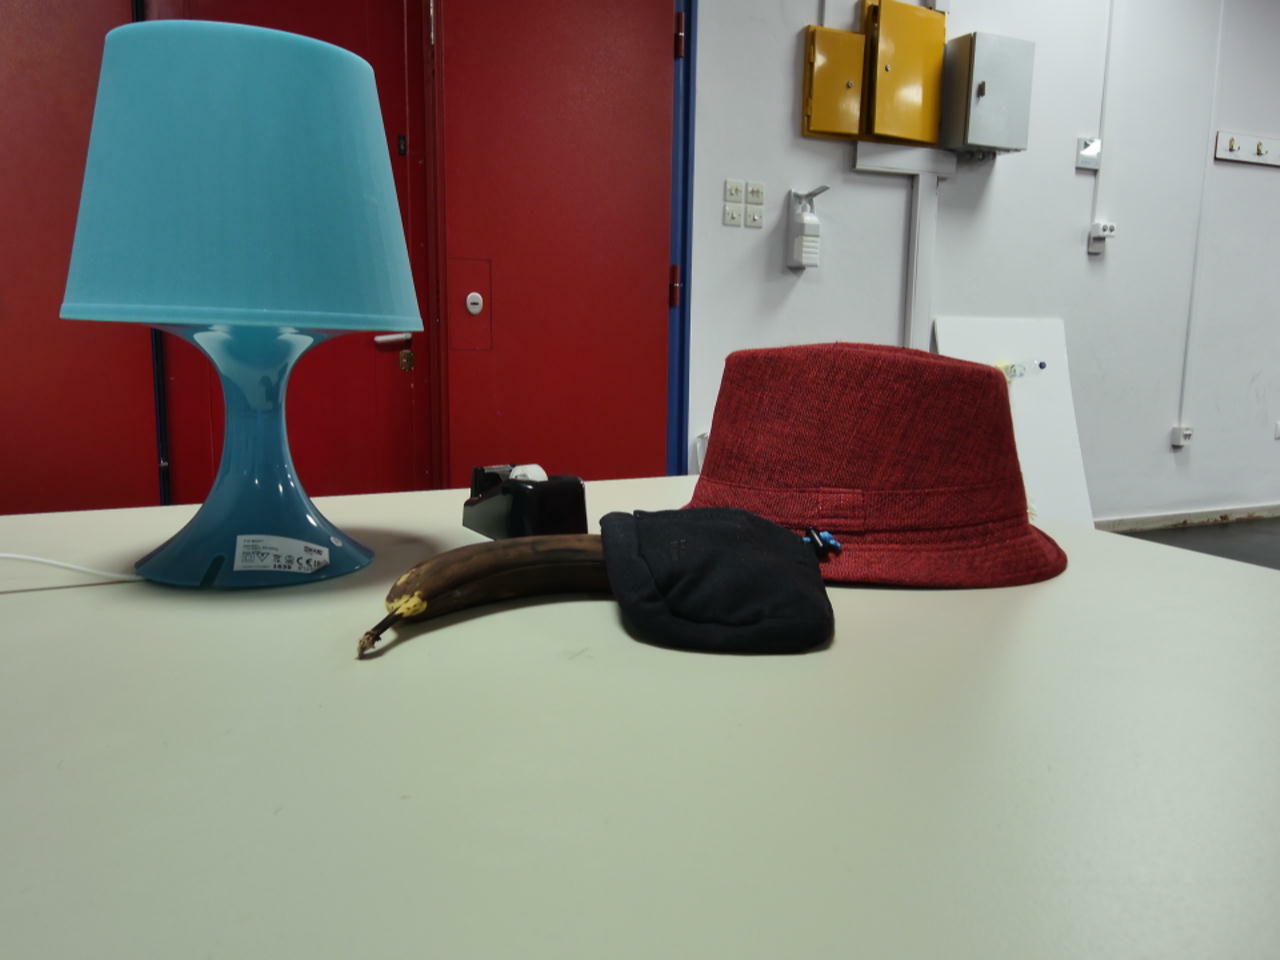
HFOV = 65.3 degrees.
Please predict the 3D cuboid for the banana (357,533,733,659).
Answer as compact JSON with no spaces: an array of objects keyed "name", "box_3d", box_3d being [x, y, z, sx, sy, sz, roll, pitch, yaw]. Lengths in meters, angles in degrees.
[{"name":"banana","box_3d":[-0.051,0.049,0.502,0.188,0.033,0.091,-3,7,-24]}]
